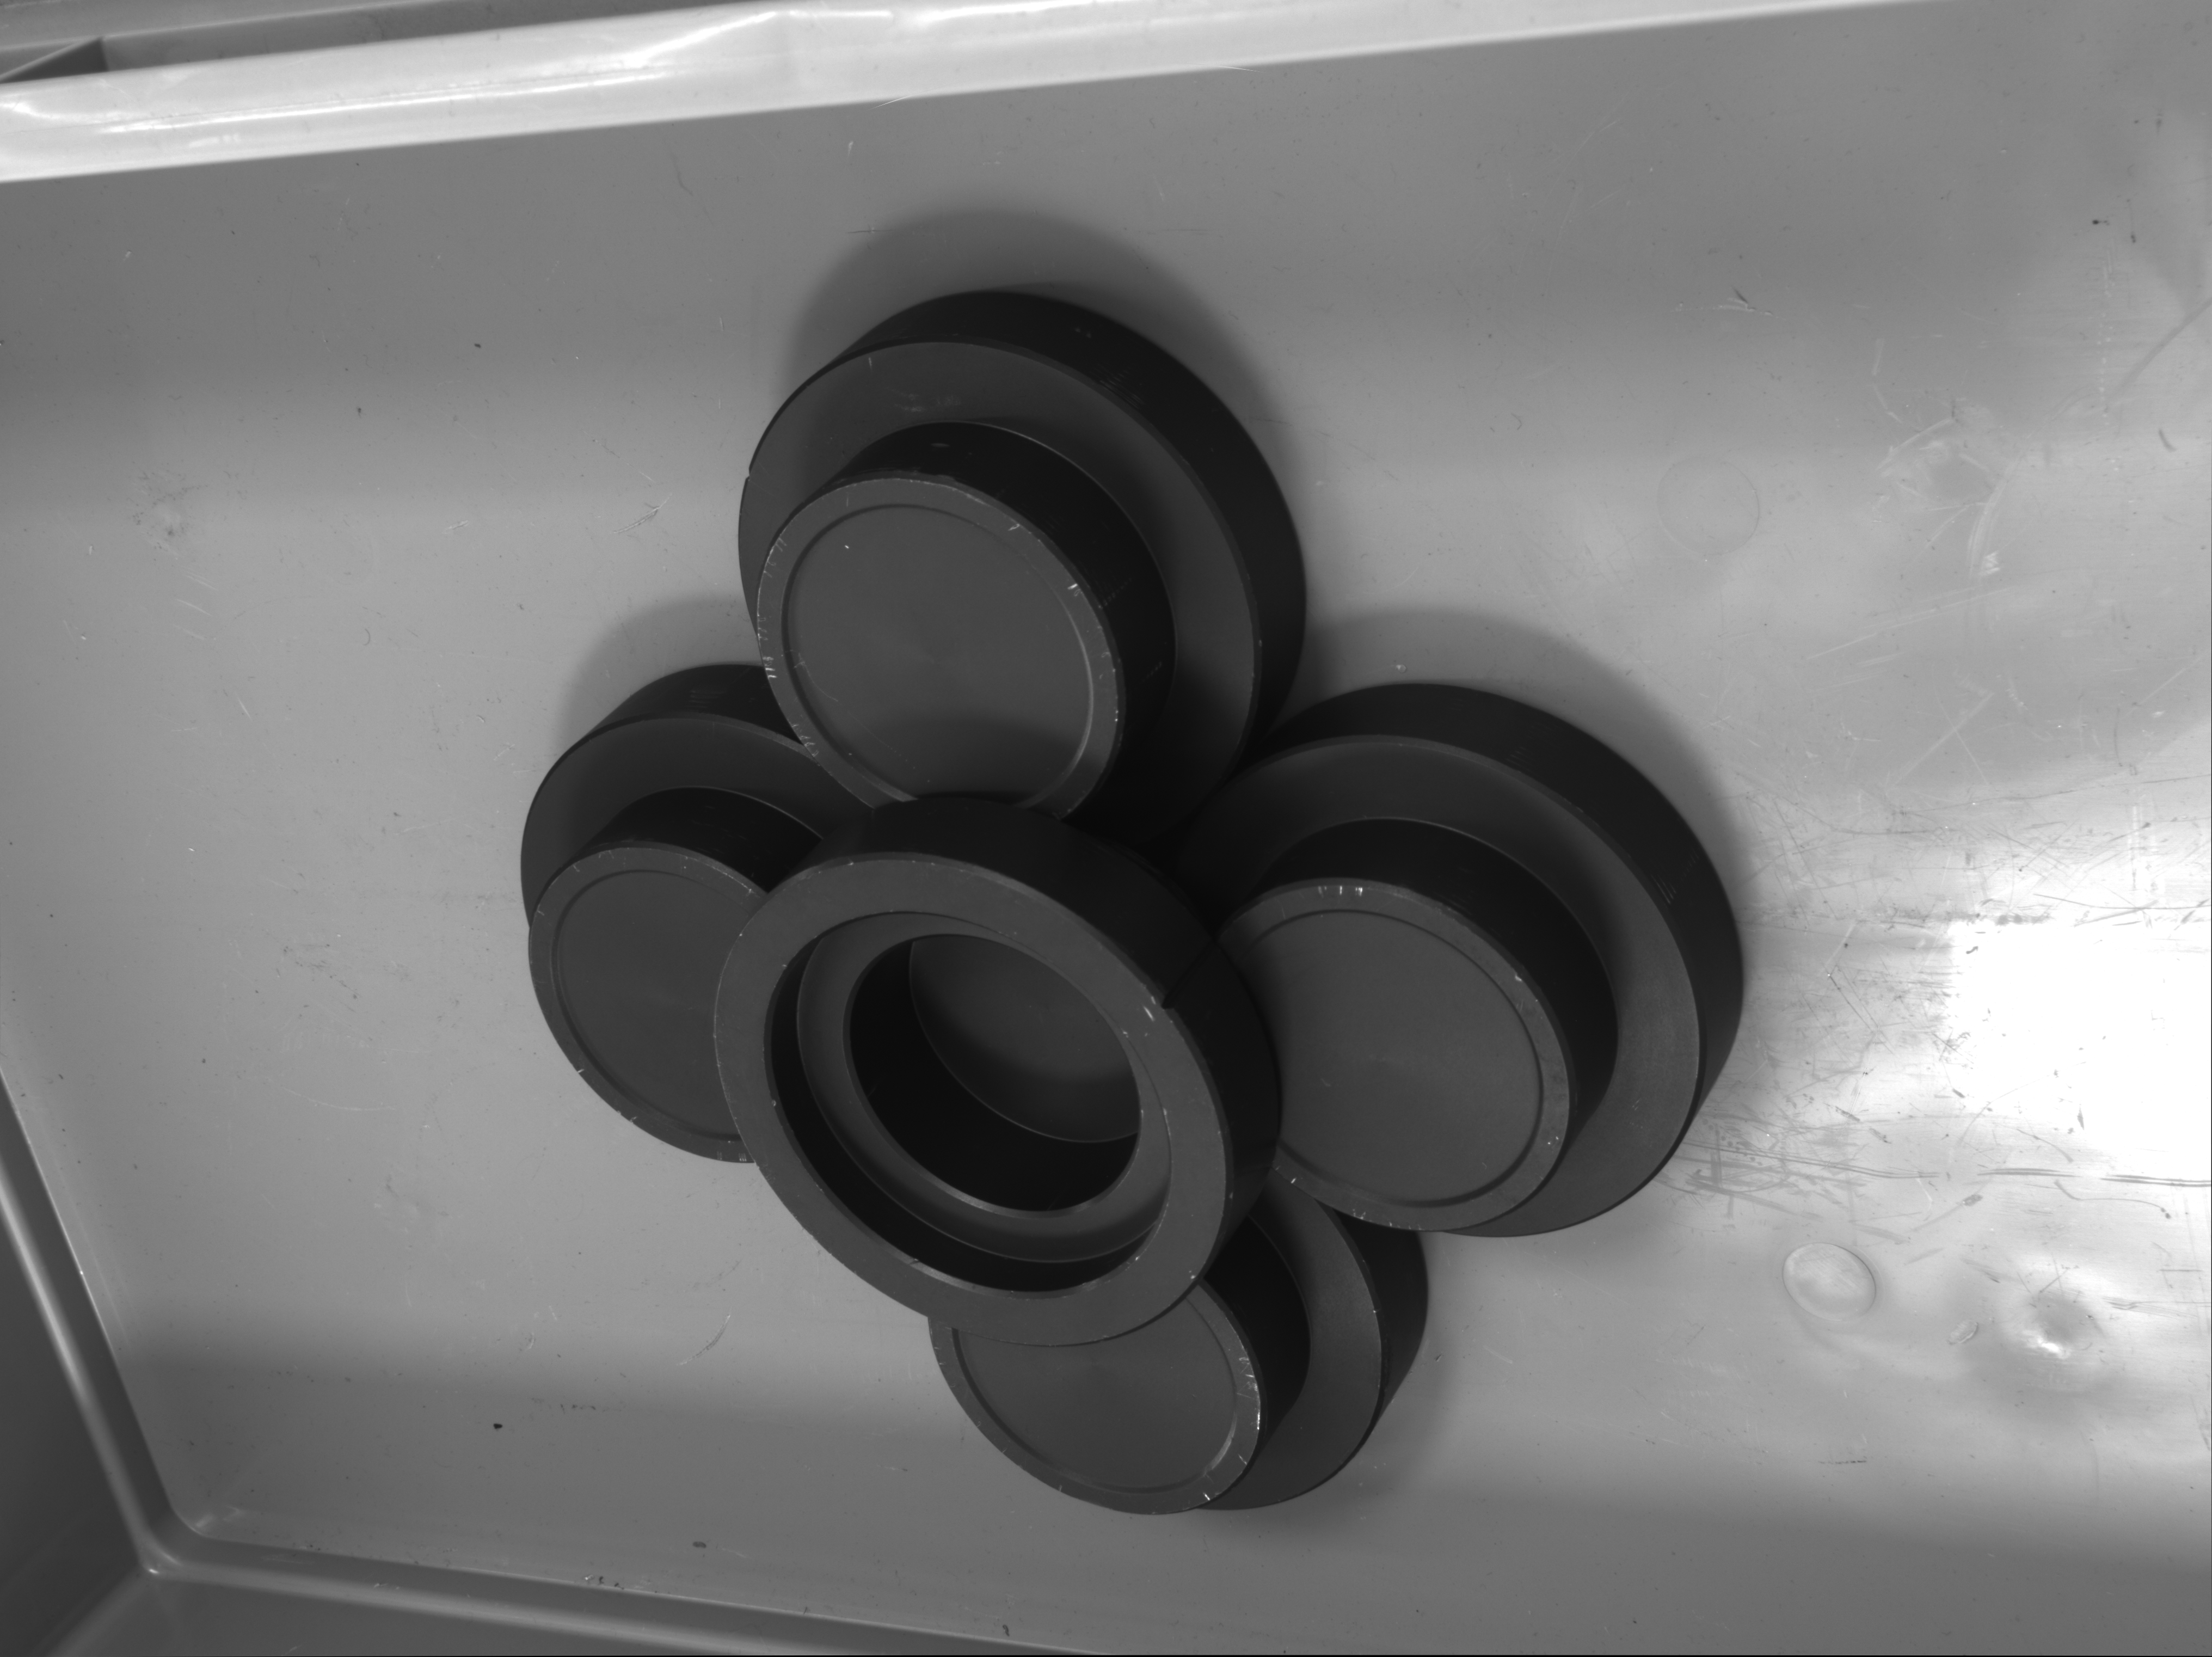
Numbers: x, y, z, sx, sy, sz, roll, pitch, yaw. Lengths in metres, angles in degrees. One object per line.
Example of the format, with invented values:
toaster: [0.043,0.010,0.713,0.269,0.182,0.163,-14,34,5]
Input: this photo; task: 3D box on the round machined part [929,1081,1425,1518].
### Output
round machined part: [0.006,0.088,0.680,0.098,0.042,0.098,12,122,21]

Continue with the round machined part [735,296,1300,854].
round machined part: [-0.020,-0.036,0.617,0.098,0.042,0.098,13,124,21]

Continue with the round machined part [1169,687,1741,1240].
round machined part: [0.054,0.029,0.618,0.098,0.042,0.098,13,124,21]

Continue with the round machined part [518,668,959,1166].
round machined part: [-0.068,0.023,0.679,0.098,0.042,0.098,13,124,21]

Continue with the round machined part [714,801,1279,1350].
round machined part: [-0.015,0.038,0.634,0.098,0.042,0.098,13,124,21]
